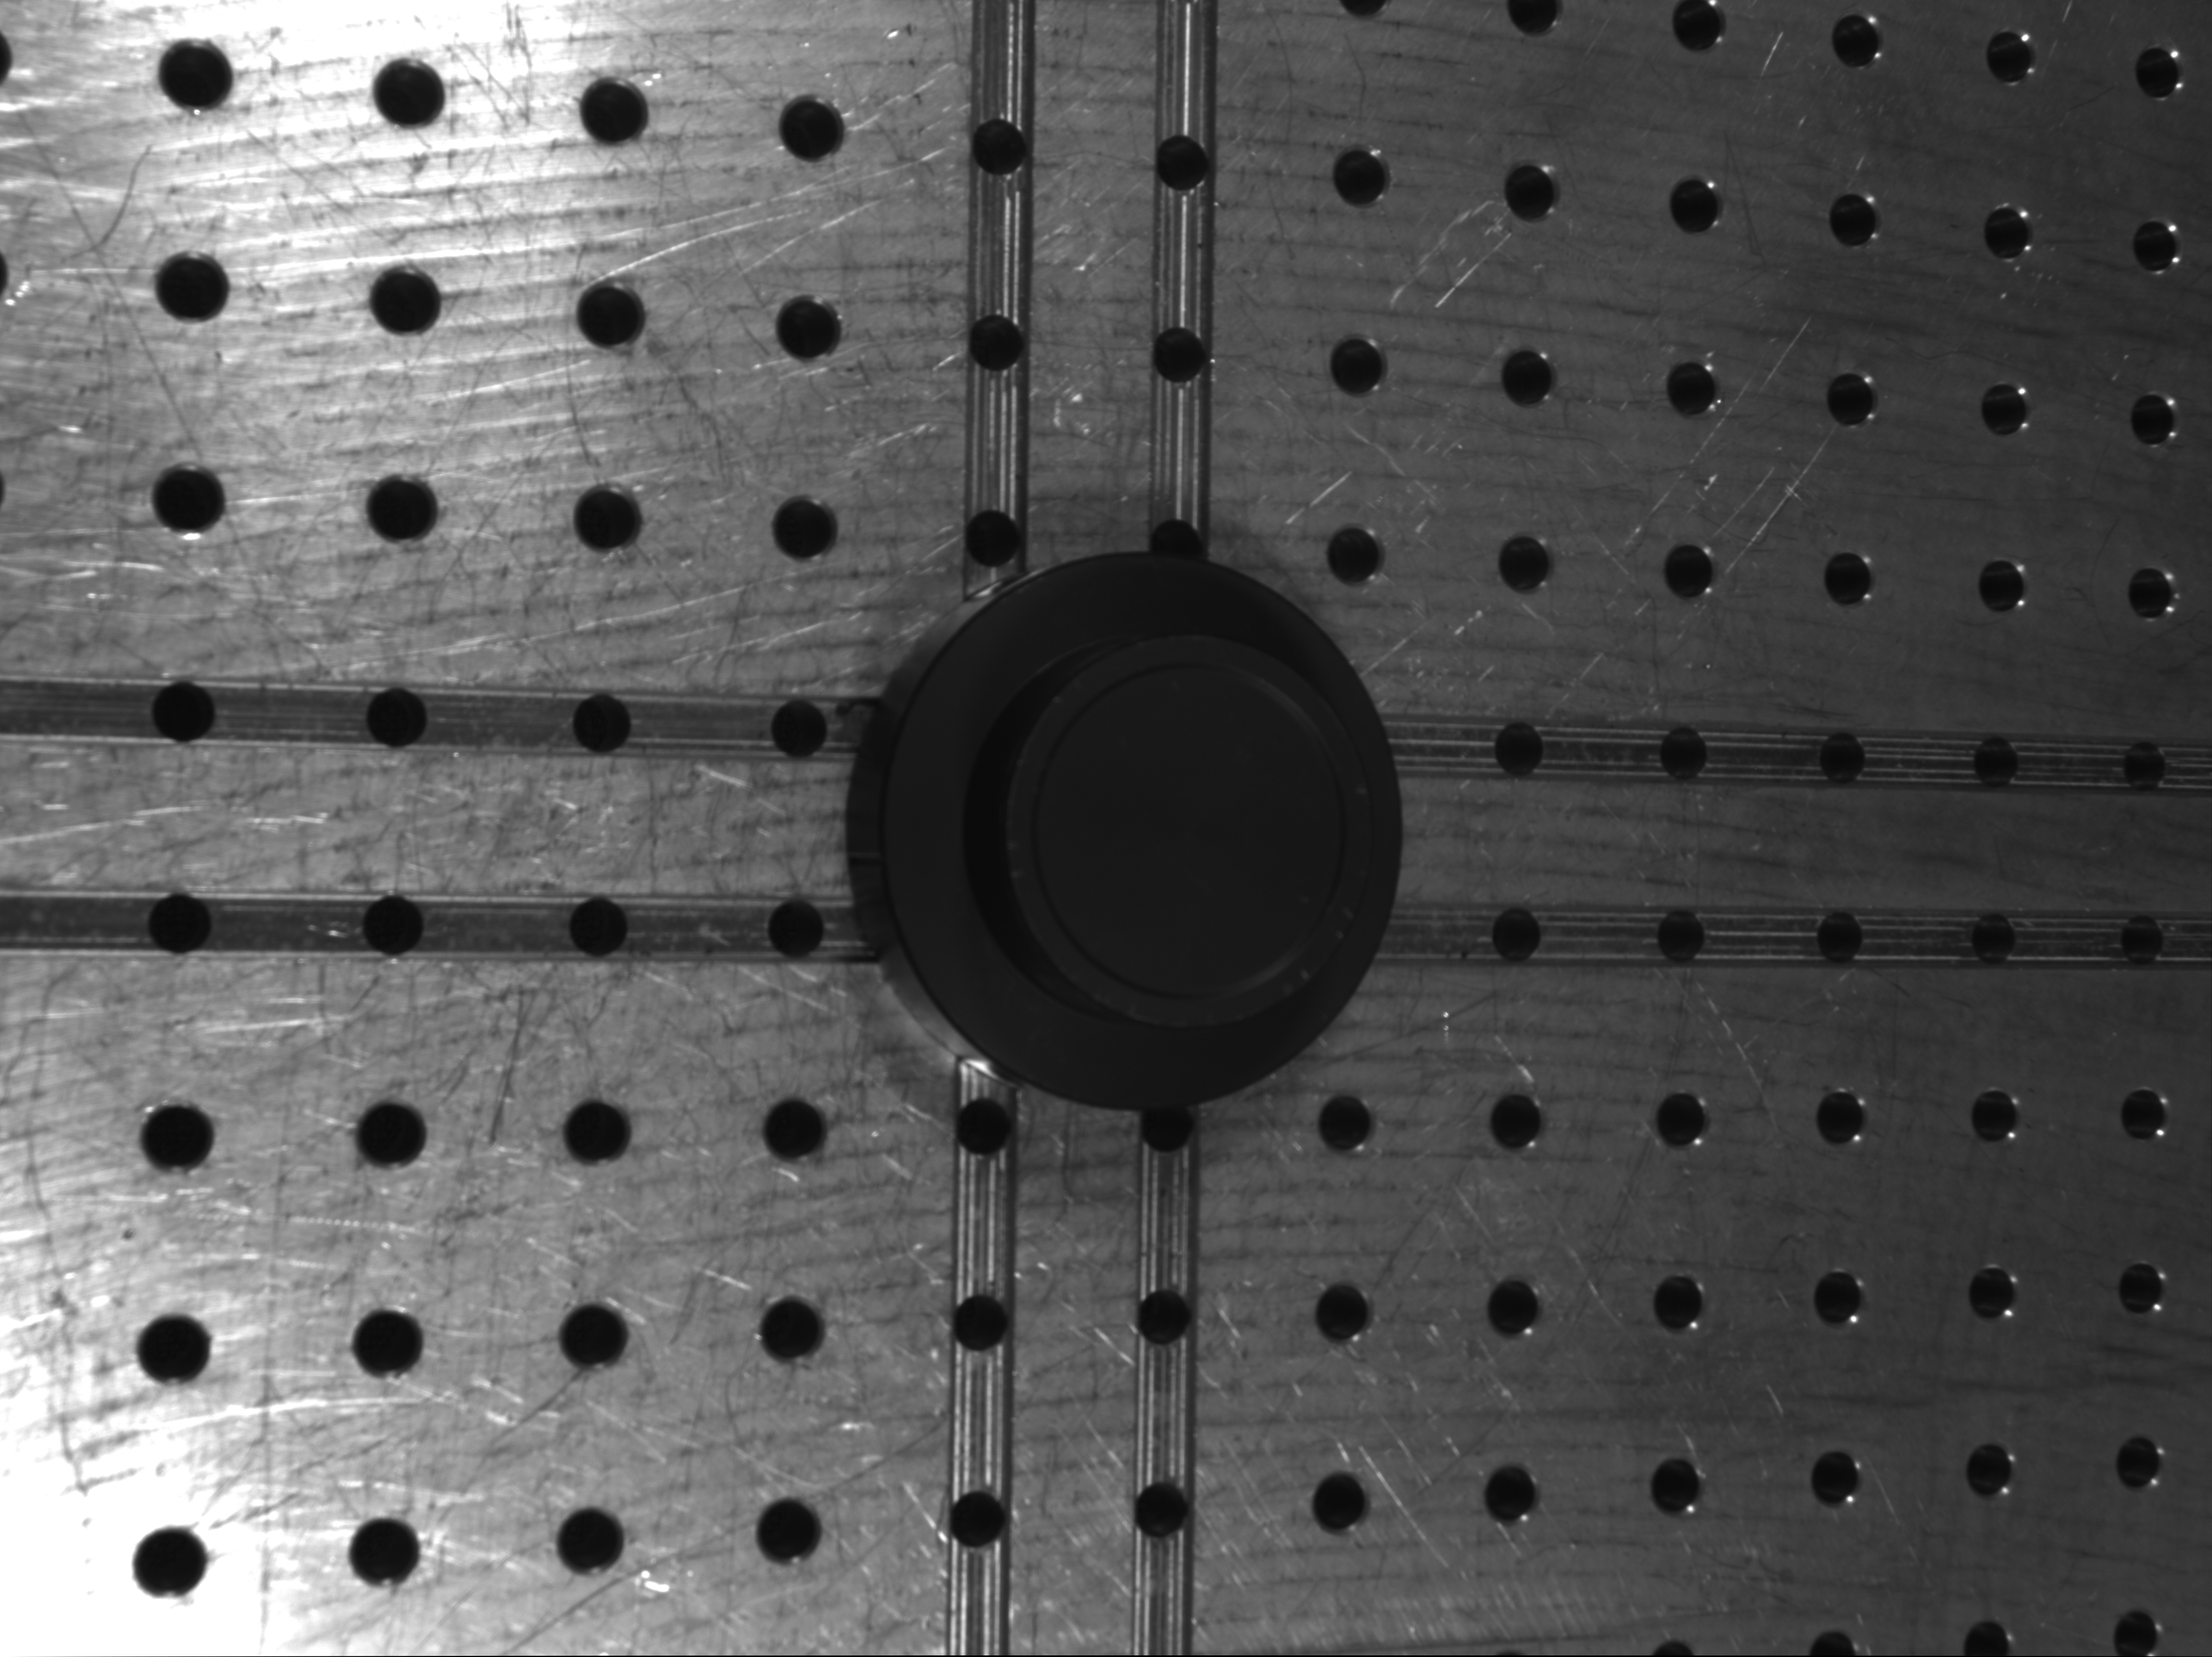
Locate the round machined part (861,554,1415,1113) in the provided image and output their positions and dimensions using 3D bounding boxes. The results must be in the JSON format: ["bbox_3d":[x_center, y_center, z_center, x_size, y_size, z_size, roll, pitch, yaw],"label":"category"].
[{"bbox_3d":[0.010,0.001,0.640,0.098,0.042,0.098,0,90,-20],"label":"round machined part"}]
